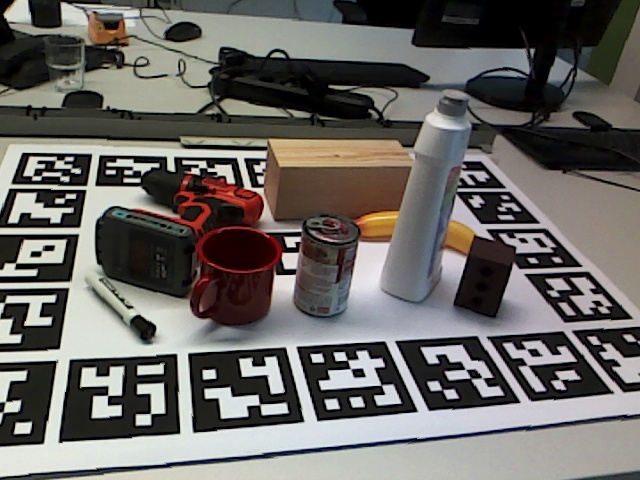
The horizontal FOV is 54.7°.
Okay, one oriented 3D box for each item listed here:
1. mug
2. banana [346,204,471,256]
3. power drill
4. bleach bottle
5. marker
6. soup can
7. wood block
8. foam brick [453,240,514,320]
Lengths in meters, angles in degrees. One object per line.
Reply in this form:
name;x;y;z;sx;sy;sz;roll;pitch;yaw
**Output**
mug;-0.102;0.042;0.688;0.094;0.081;0.117;25;38;21
banana;0.123;-0.020;0.879;0.197;0.039;0.074;10;45;-2
power drill;-0.183;-0.022;0.805;0.185;0.057;0.187;18;32;8
bleach bottle;0.126;-0.049;0.732;0.068;0.250;0.102;15;31;10
marker;-0.218;0.073;0.675;0.019;0.019;0.122;-23;45;-37
soup can;0.003;0.026;0.711;0.068;0.102;0.068;7;28;-4
wood block;0.028;-0.086;0.919;0.205;0.091;0.090;-1;34;-16
foam brick;0.201;0.049;0.760;0.053;0.078;0.051;16;30;15
